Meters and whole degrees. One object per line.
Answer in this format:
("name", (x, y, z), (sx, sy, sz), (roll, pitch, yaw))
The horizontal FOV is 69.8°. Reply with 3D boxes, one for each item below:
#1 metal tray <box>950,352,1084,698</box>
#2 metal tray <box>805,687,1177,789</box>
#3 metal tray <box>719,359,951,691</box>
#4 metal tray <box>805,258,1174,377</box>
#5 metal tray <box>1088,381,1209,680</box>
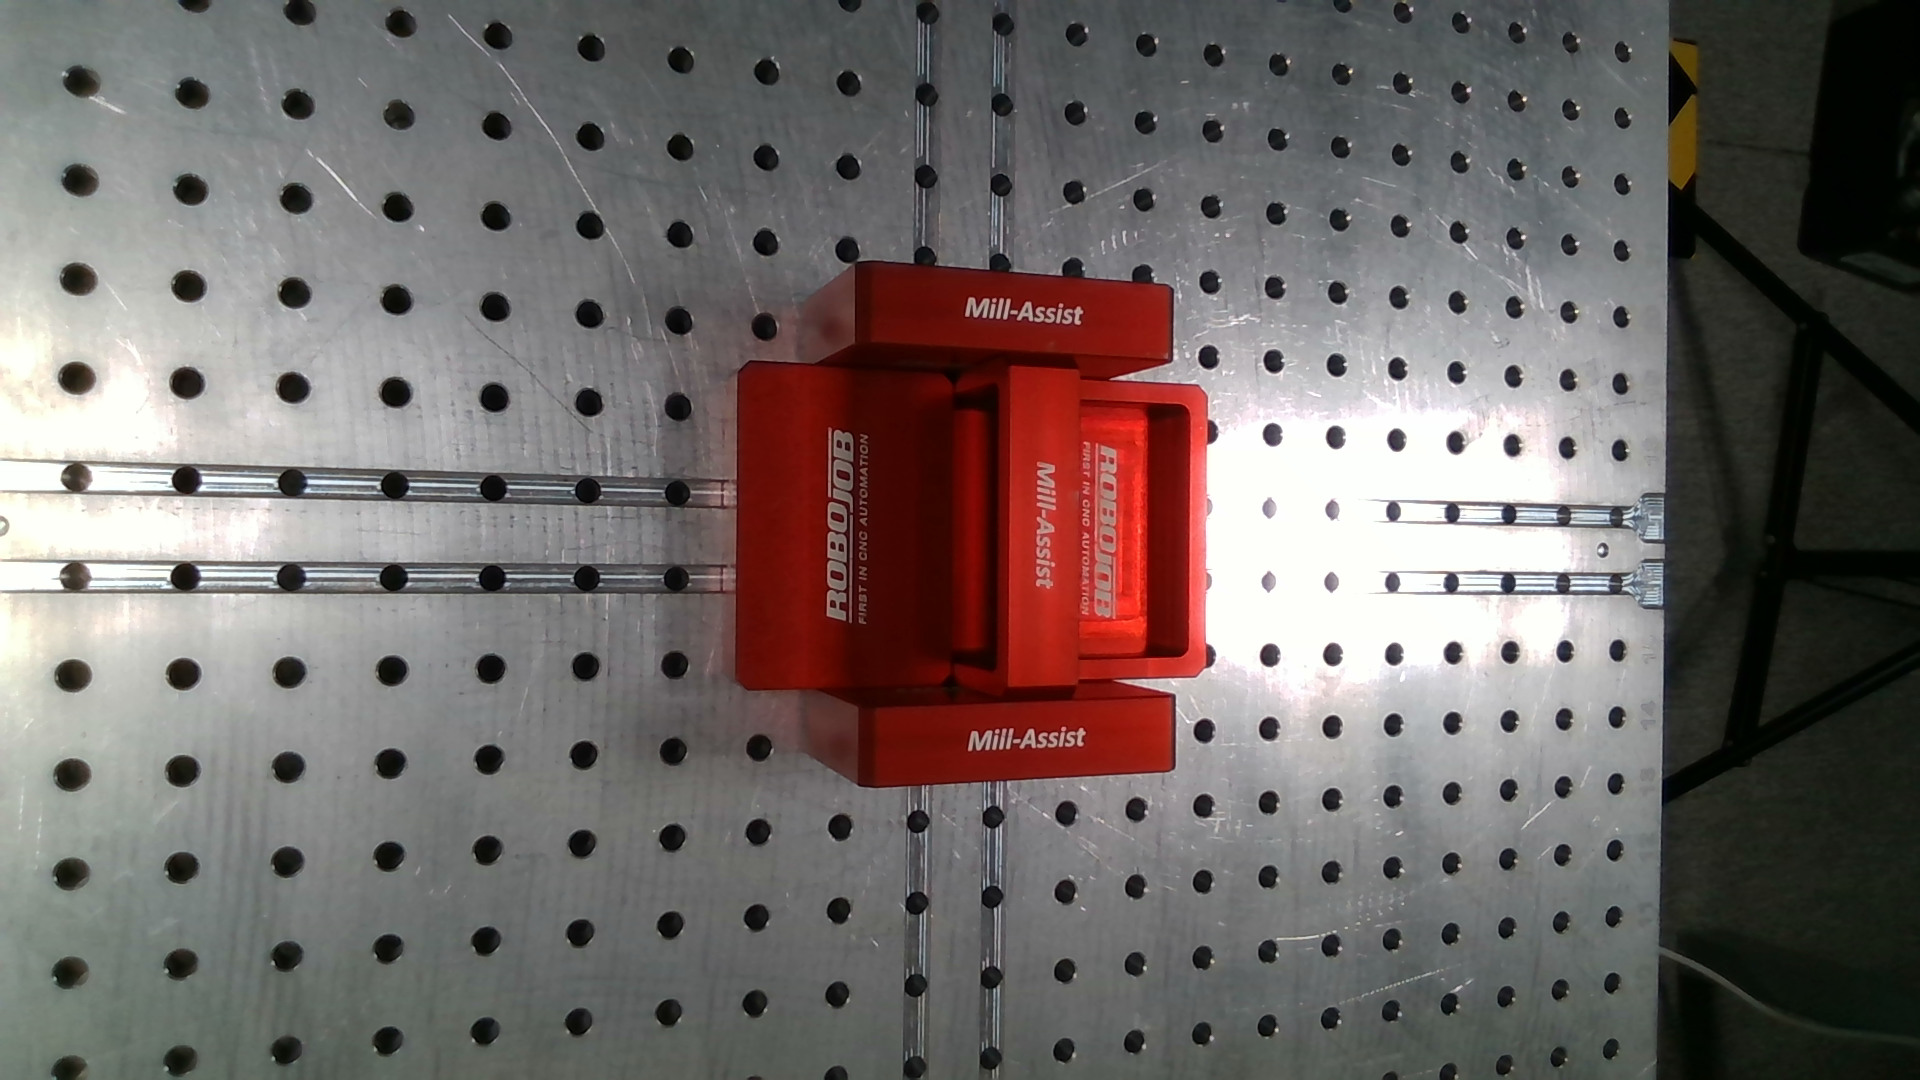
("metal tray", (0.017, -0.006, 0.558), (0.030, 0.090, 0.130), (1, 90, -20))
("metal tray", (0.011, 0.076, 0.557), (0.130, 0.090, 0.030), (1, 90, -20))
("metal tray", (-0.051, -0.005, 0.565), (0.090, 0.030, 0.130), (0, 90, -20))
("metal tray", (0.010, -0.085, 0.556), (0.130, 0.090, 0.030), (1, 90, -20))
("metal tray", (0.063, -0.004, 0.609), (0.090, 0.030, 0.130), (0, 90, -20))
